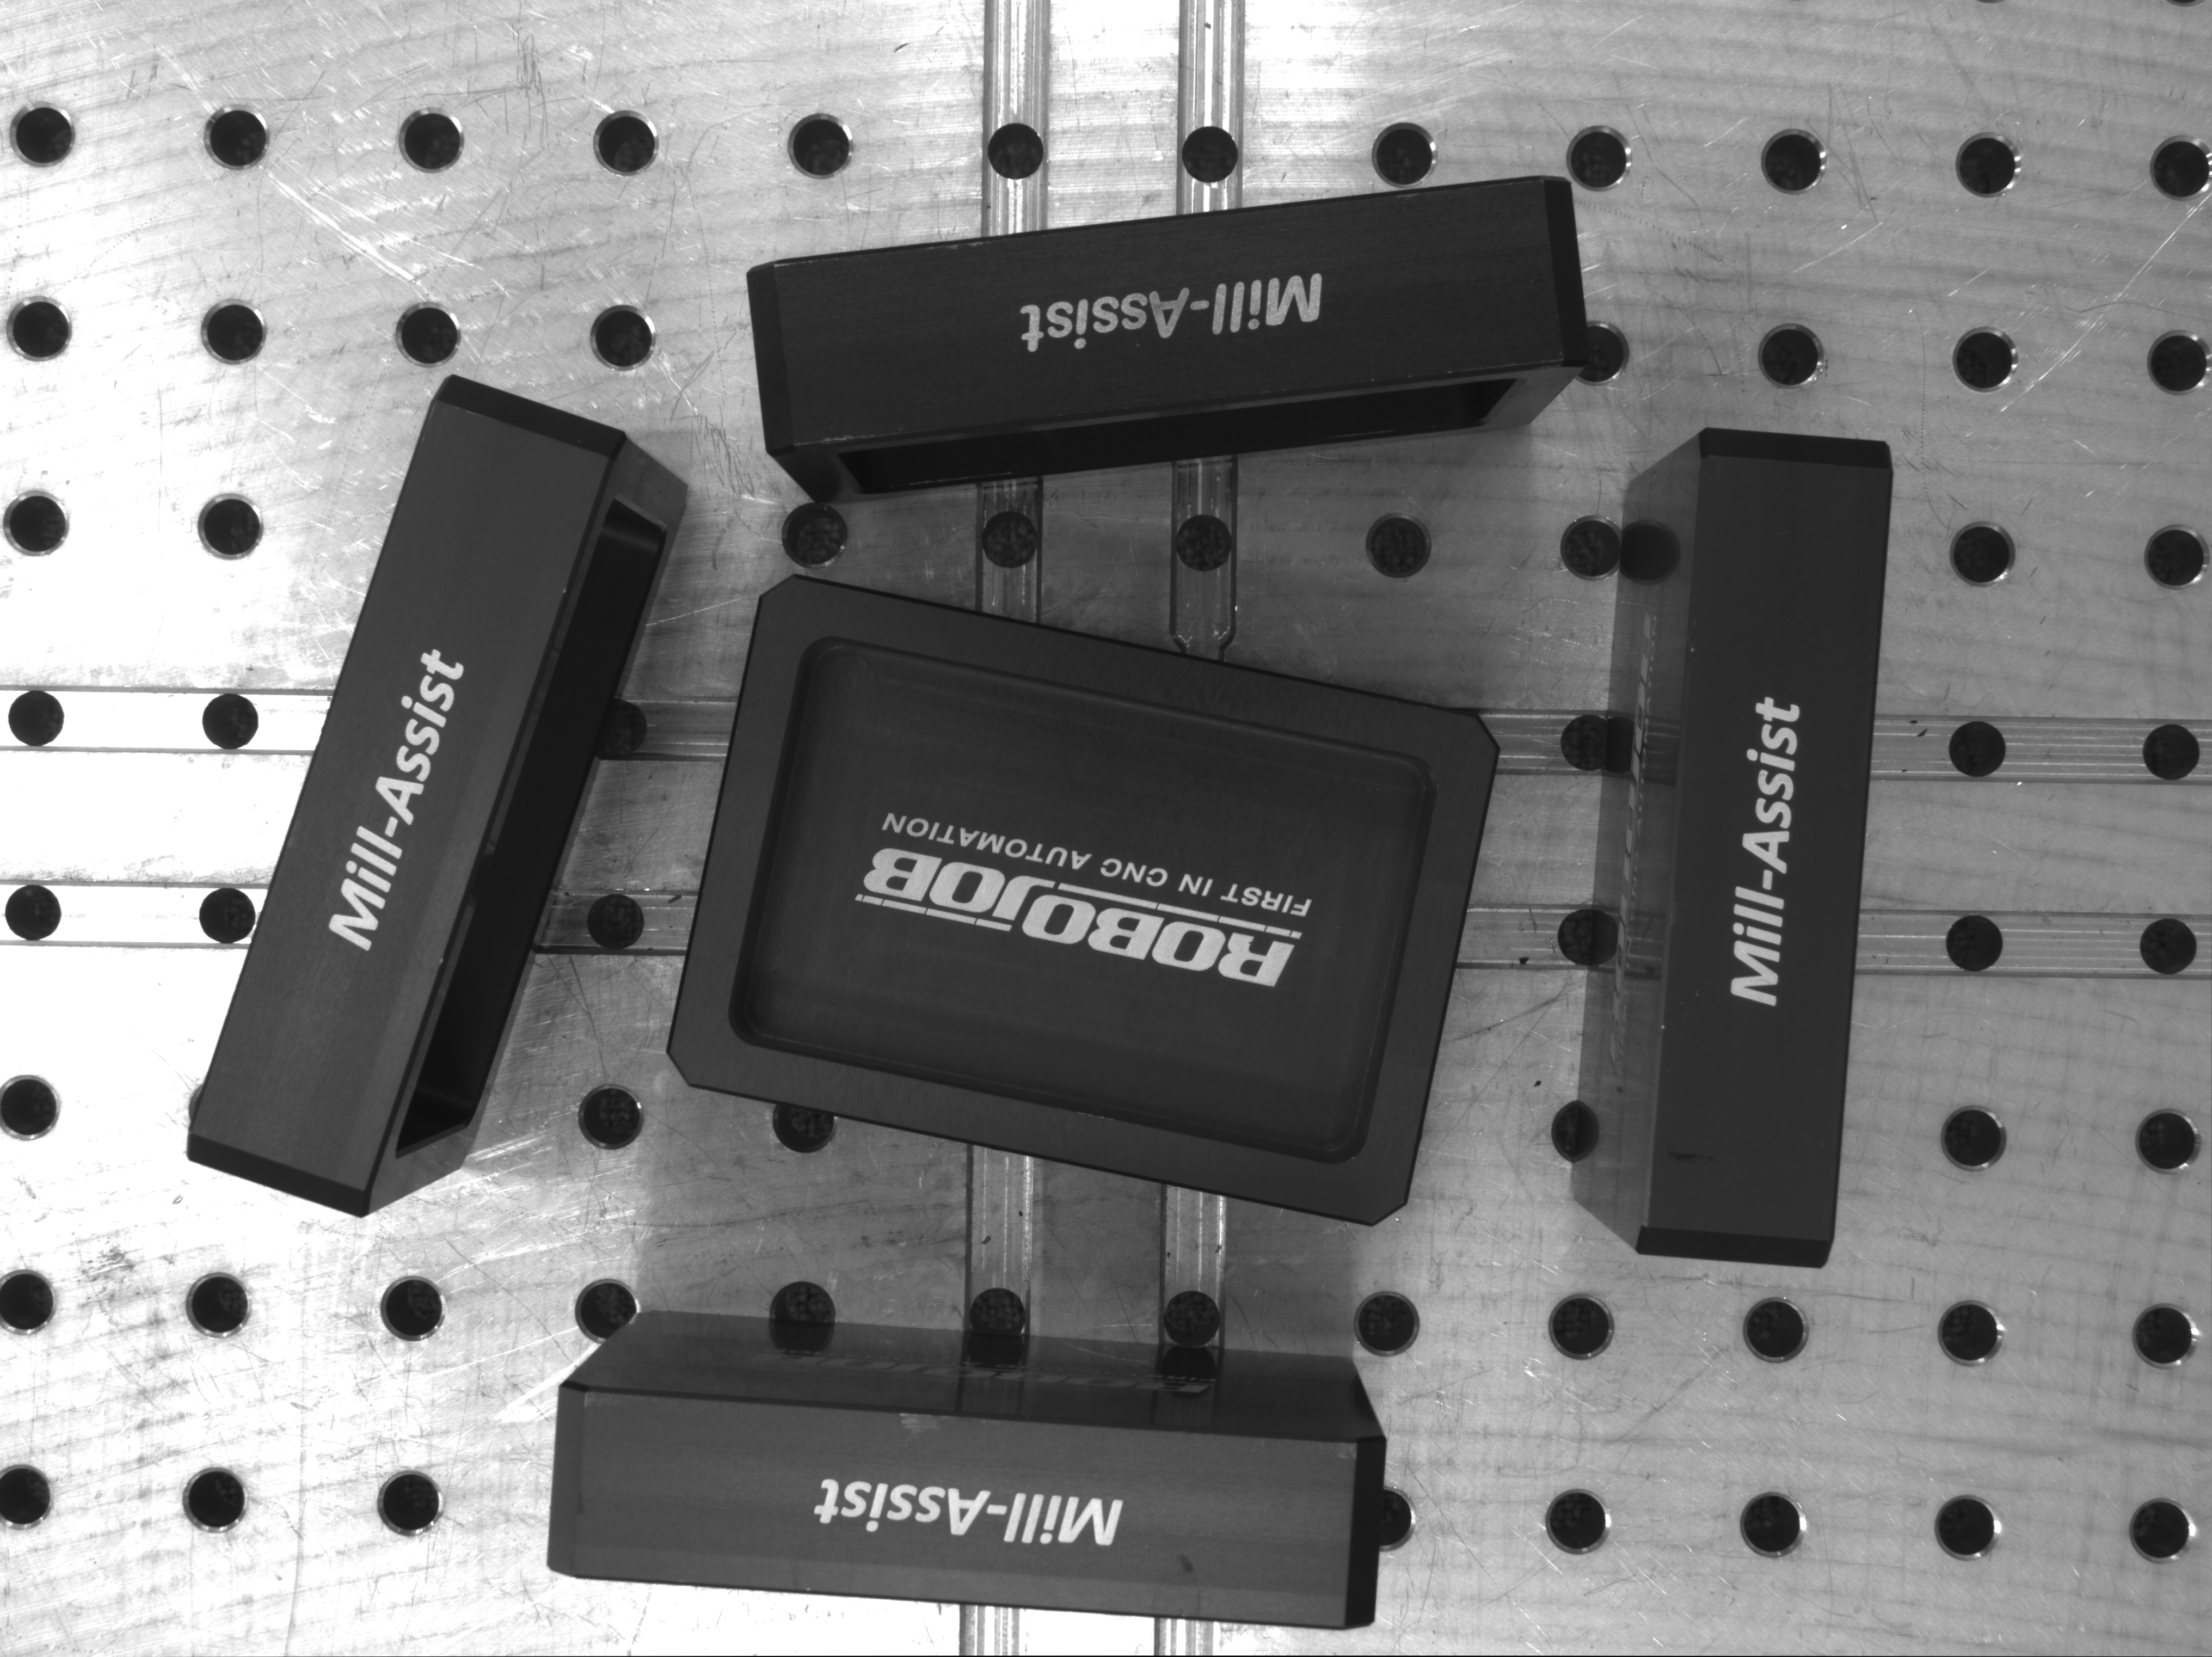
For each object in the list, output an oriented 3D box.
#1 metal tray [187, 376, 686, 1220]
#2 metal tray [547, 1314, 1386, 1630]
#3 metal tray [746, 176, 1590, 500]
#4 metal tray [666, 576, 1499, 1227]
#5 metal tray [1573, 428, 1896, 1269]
[{"bbox_3d":[-0.110,-0.005,0.616,0.030,0.090,0.130,18,90,1],"label":"metal tray"},{"bbox_3d":[-0.021,0.106,0.616,0.130,0.090,0.030,4,90,0],"label":"metal tray"},{"bbox_3d":[0.010,-0.080,0.615,0.130,0.090,0.030,-6,90,0],"label":"metal tray"},{"bbox_3d":[-0.004,0.013,0.645,0.130,0.030,0.090,11,90,0],"label":"metal tray"},{"bbox_3d":[0.103,0.003,0.616,0.030,0.090,0.130,5,90,0],"label":"metal tray"}]
